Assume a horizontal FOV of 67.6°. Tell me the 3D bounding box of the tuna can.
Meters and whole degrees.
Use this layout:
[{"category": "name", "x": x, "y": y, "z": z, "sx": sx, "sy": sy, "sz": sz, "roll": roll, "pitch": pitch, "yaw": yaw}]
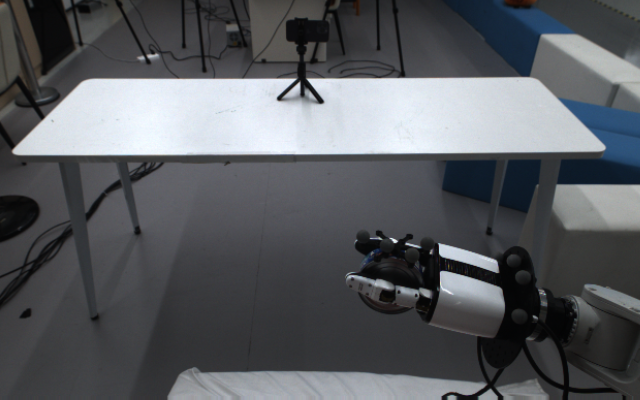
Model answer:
[{"category": "tuna can", "x": 0.094, "y": 0.103, "z": 0.627, "sx": 0.085, "sy": 0.085, "sz": 0.034, "roll": 7, "pitch": 21, "yaw": 7}]
